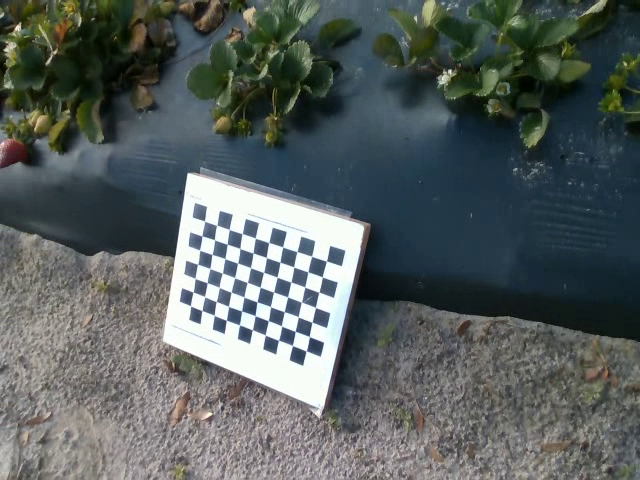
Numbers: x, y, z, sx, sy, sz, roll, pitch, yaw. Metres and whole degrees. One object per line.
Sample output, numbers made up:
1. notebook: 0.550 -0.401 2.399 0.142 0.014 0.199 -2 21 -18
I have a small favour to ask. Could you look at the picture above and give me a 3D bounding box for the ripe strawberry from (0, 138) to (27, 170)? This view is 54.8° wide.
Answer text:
1. ripe strawberry: -0.586 -0.156 1.149 0.053 0.067 0.044 13 -29 23
